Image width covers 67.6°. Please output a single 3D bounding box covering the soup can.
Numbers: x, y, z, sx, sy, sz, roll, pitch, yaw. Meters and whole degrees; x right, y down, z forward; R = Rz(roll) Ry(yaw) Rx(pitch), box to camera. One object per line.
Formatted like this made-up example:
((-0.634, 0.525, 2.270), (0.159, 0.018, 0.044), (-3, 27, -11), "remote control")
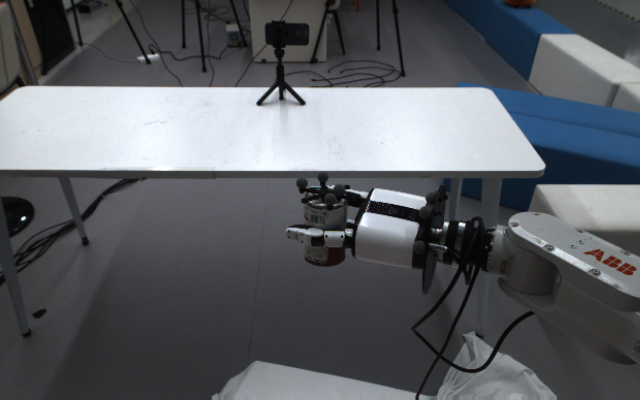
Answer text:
((0.009, 0.042, 0.739), (0.067, 0.101, 0.067), (1, 25, 0), "soup can")
